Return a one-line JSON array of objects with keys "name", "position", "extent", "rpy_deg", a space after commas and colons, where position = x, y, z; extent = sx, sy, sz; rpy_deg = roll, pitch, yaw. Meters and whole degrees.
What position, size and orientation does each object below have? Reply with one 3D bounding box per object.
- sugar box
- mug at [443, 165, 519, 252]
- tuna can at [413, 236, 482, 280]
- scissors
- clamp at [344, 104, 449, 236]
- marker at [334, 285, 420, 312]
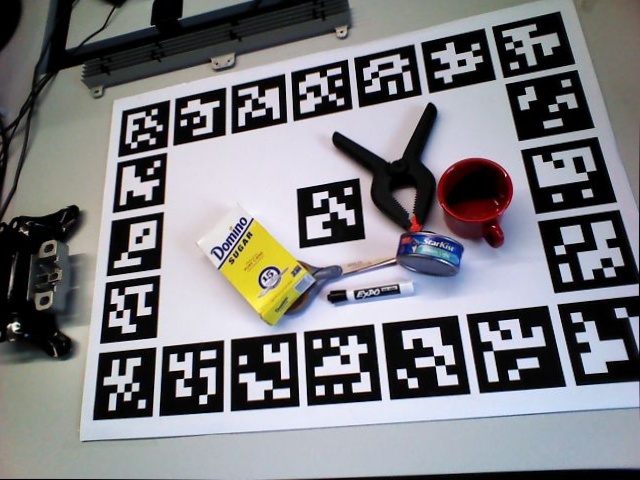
[{"name": "sugar box", "position": [-0.078, 0.038, 0.765], "extent": [0.093, 0.045, 0.176], "rpy_deg": [-43, 60, -2]}, {"name": "mug", "position": [0.223, -0.031, 0.693], "extent": [0.093, 0.081, 0.117], "rpy_deg": [-34, 62, 2]}, {"name": "tuna can", "position": [0.167, 0.025, 0.684], "extent": [0.086, 0.086, 0.033], "rpy_deg": [8, 73, 18]}, {"name": "scissors", "position": [0.031, 0.050, 0.747], "extent": [0.203, 0.016, 0.087], "rpy_deg": [-18, 63, 7]}, {"name": "clamp", "position": [0.137, -0.093, 0.772], "extent": [0.166, 0.036, 0.202], "rpy_deg": [-18, 68, 9]}, {"name": "marker", "position": [0.078, 0.082, 0.725], "extent": [0.121, 0.019, 0.019], "rpy_deg": [-12, 69, 12]}]
